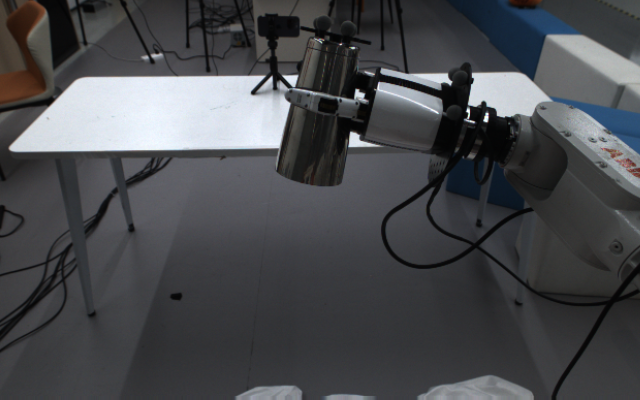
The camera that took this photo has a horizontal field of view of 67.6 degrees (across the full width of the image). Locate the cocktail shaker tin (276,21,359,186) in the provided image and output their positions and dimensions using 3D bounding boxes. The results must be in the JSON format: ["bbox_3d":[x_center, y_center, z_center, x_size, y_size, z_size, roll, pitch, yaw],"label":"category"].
[{"bbox_3d":[0.002,-0.114,0.617,0.093,0.170,0.093,11,19,-4],"label":"cocktail shaker tin"}]
